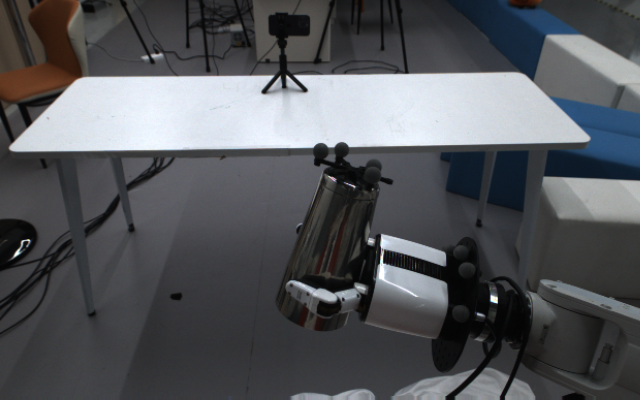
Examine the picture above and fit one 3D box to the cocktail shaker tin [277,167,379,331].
[{"bbox_3d":[0.014,0.053,0.557,0.093,0.170,0.093,14,20,-5],"label":"cocktail shaker tin"}]
